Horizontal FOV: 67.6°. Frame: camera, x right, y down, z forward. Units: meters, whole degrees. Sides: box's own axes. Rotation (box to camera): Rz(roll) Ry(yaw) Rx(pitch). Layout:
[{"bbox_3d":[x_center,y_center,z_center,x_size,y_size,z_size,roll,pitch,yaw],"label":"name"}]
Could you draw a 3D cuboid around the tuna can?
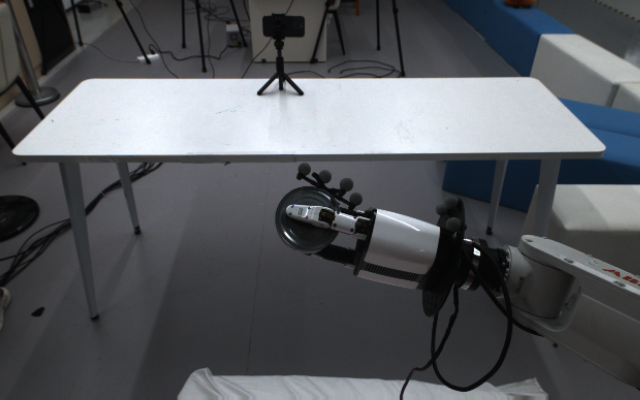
[{"bbox_3d":[-0.015,0.027,0.633,0.085,0.034,0.085,1,75,-4],"label":"tuna can"}]
